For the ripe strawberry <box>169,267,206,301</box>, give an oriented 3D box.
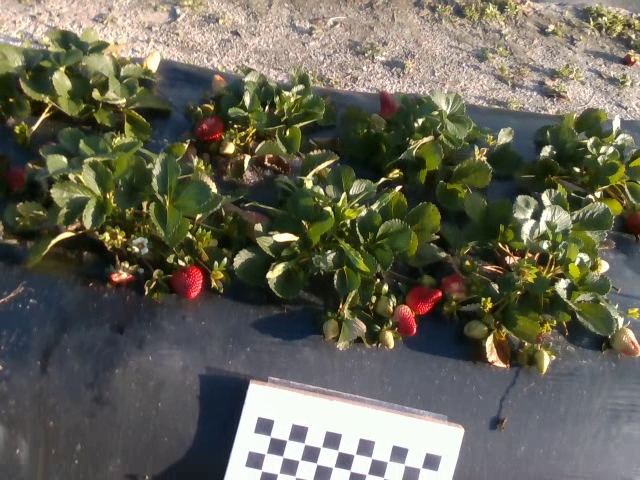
[{"bbox_3d":[-0.178,0.062,0.830,0.052,0.041,0.051,-18,35,-6],"label":"ripe strawberry"}]
